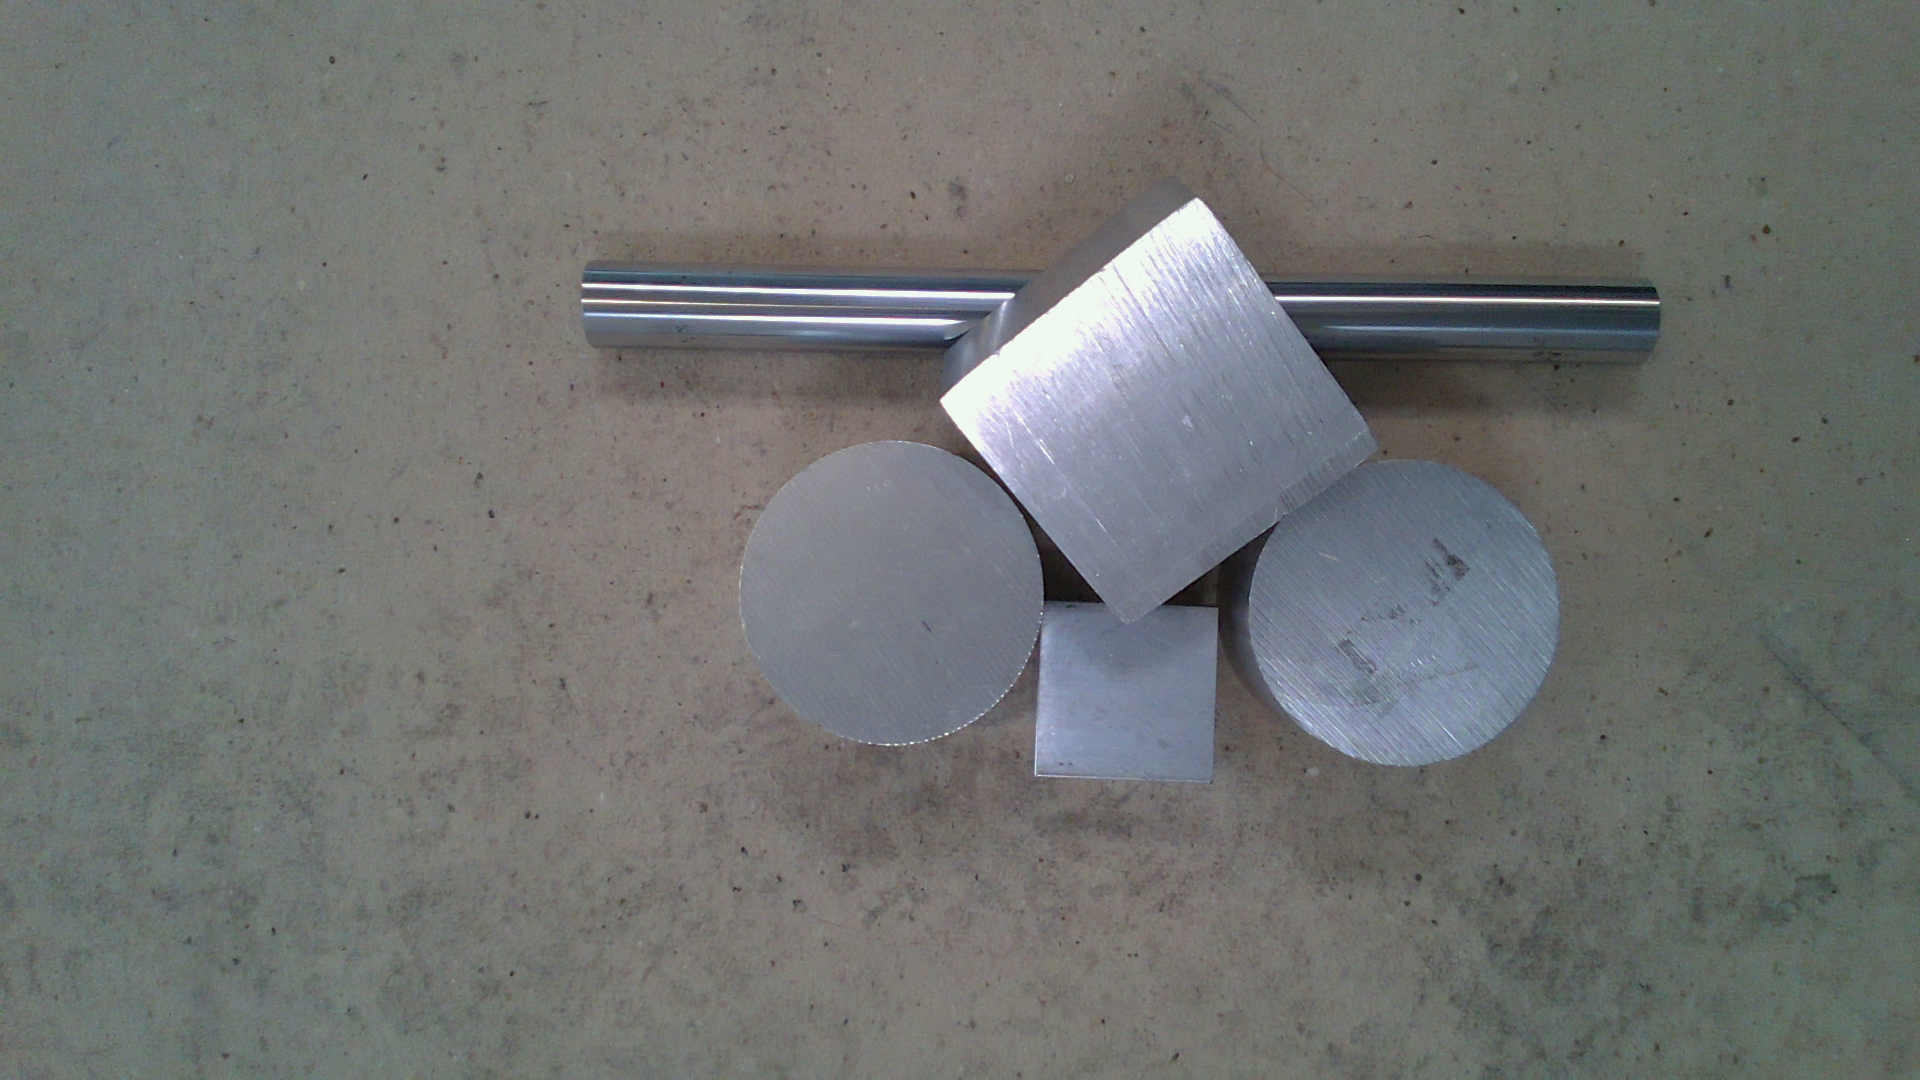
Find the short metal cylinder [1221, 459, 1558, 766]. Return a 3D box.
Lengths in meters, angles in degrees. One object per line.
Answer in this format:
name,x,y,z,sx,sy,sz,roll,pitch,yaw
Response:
short metal cylinder,0.116,0.019,0.383,0.080,0.050,0.080,0,90,0

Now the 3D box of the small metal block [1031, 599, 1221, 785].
small metal block,0.047,0.042,0.396,0.050,0.025,0.050,2,90,0

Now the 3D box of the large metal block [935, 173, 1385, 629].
large metal block,0.050,-0.038,0.365,0.080,0.050,0.080,-37,107,13

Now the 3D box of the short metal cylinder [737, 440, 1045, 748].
short metal cylinder,-0.018,0.014,0.382,0.080,0.050,0.080,0,90,0

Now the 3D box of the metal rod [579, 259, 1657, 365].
metal rod,0.044,-0.065,0.395,0.300,0.025,0.025,1,90,0
